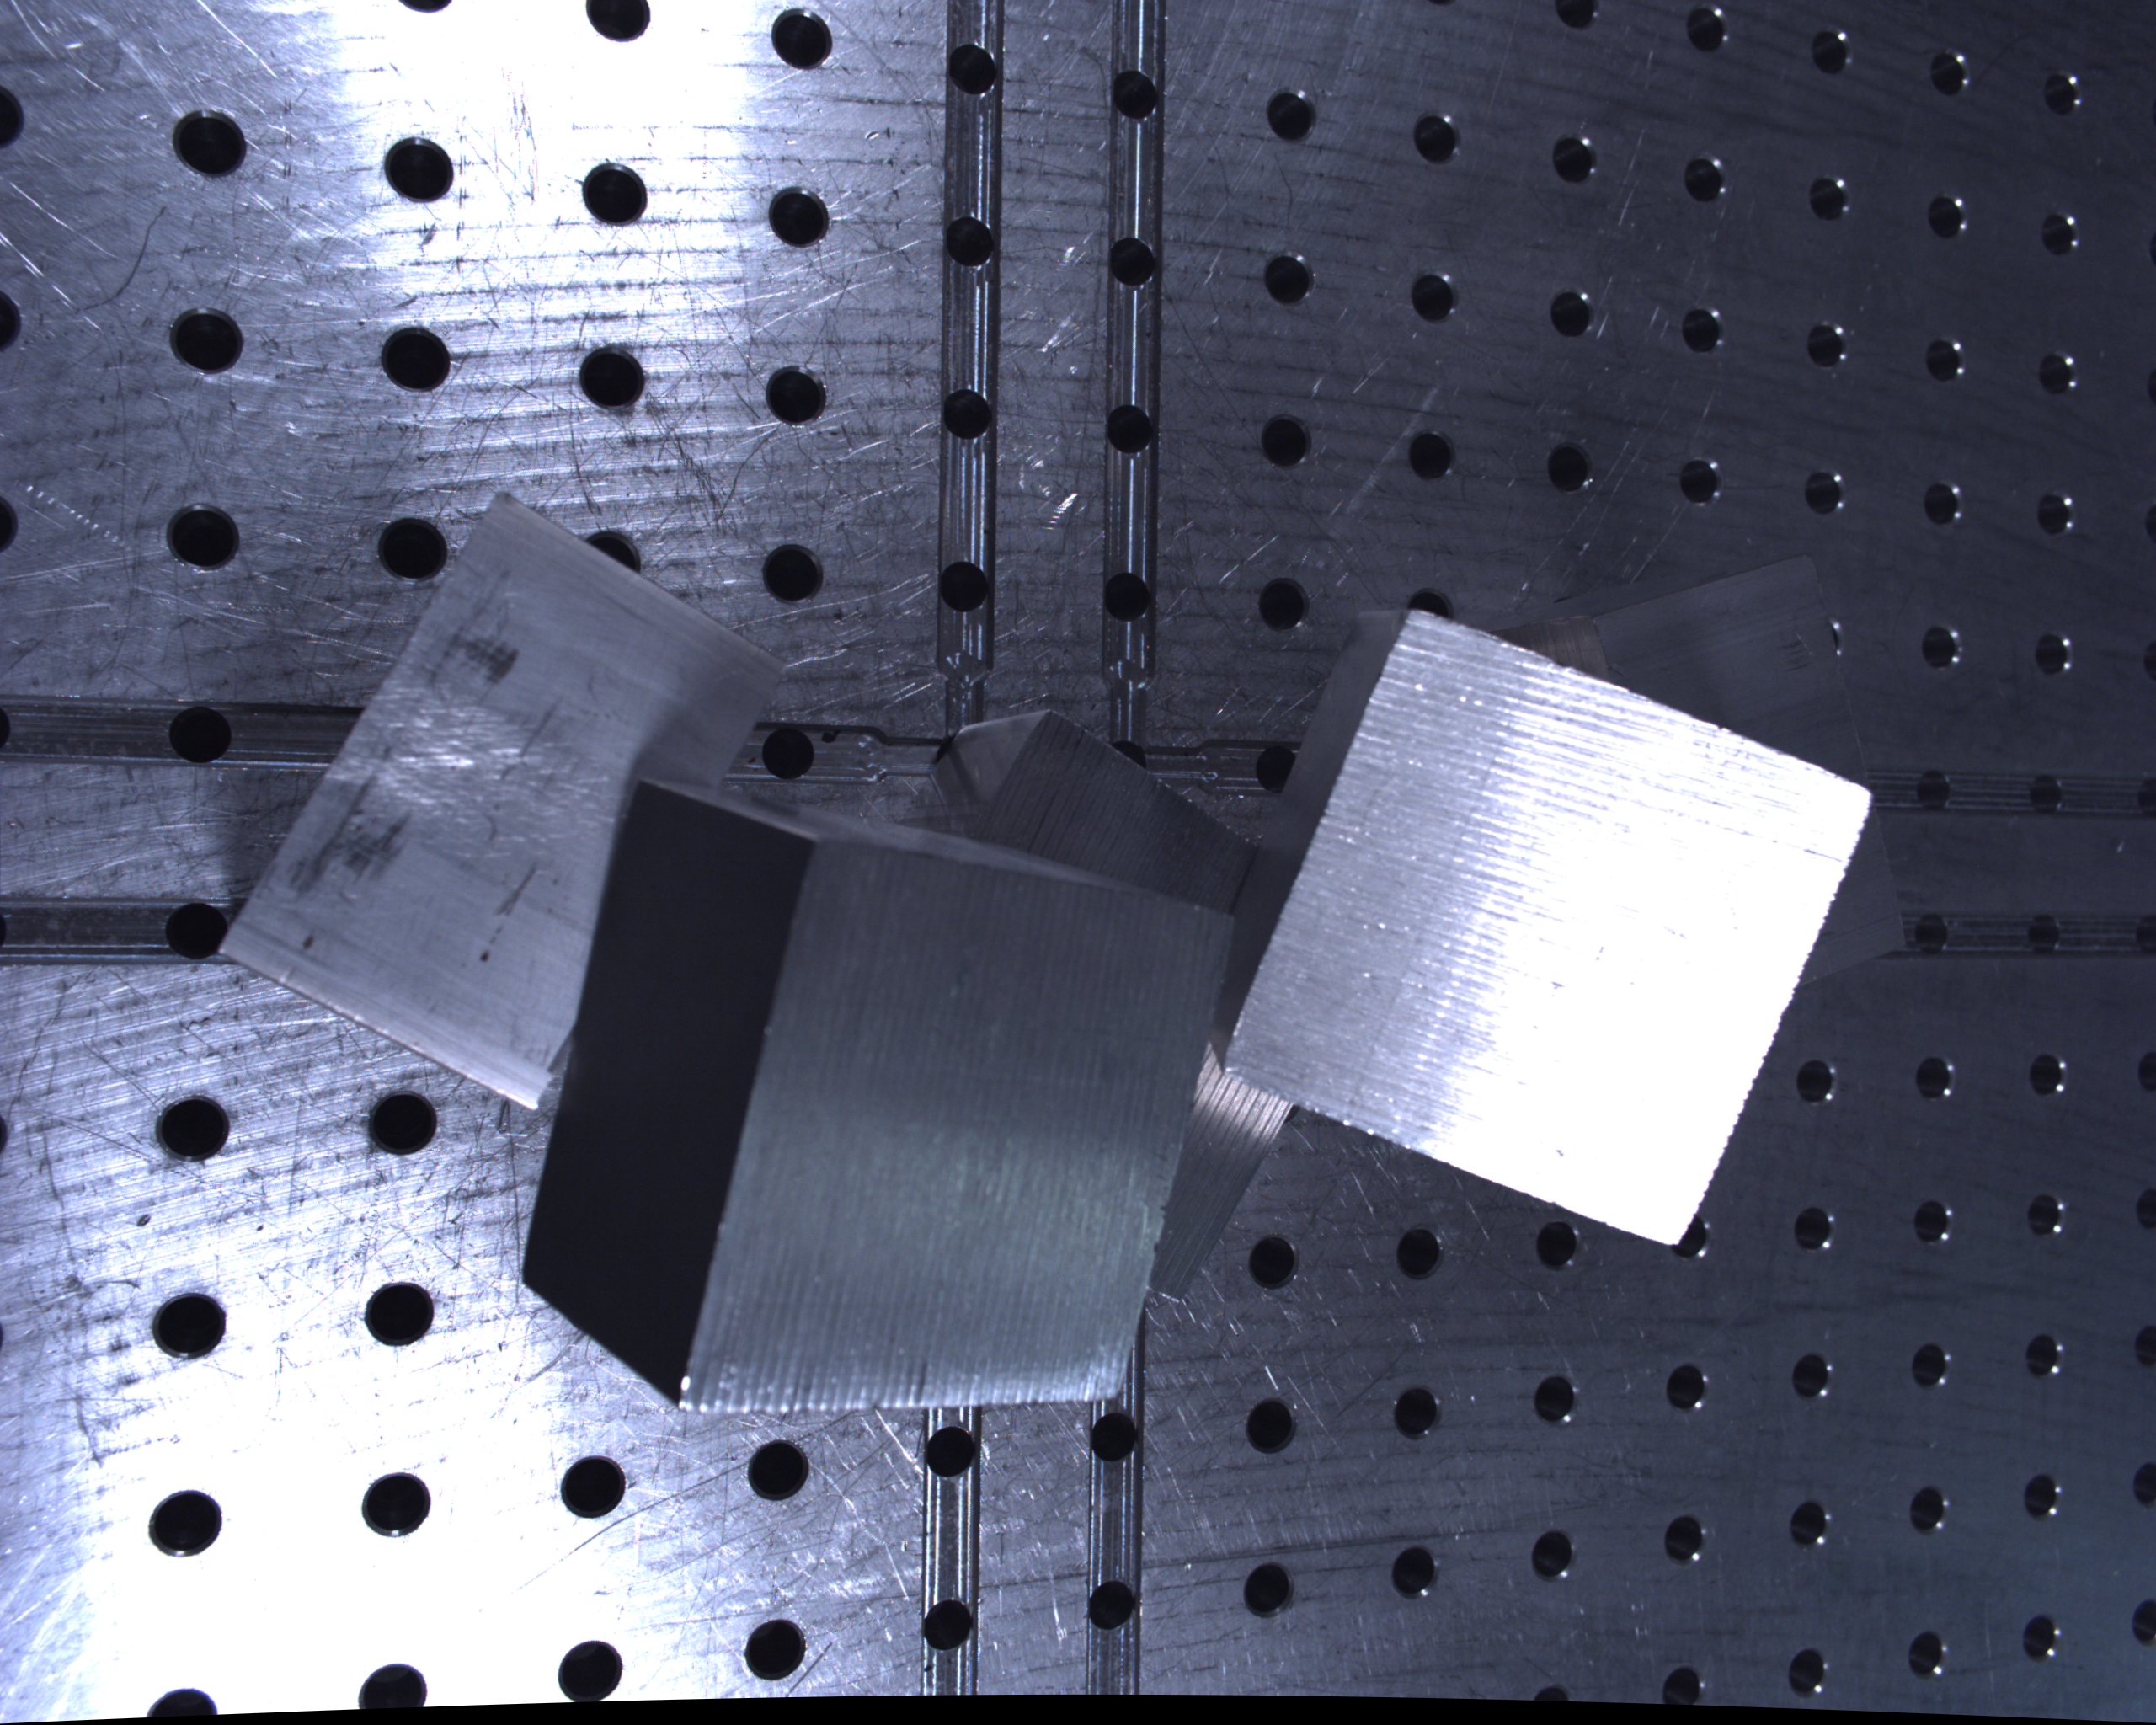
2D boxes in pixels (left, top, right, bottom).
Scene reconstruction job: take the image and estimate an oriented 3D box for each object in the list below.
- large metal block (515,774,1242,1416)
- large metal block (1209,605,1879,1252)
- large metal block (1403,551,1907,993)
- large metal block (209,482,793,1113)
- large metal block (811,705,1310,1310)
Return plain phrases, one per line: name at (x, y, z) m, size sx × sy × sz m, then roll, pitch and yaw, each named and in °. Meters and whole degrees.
large metal block at (-0.030, 0.036, 0.319) m, size 0.081 × 0.050 × 0.080 m, roll 11°, pitch 93°, yaw -41°
large metal block at (0.073, 0.008, 0.354) m, size 0.080 × 0.050 × 0.080 m, roll 22°, pitch 96°, yaw -4°
large metal block at (0.113, -0.014, 0.426) m, size 0.050 × 0.080 × 0.080 m, roll -17°, pitch 96°, yaw -19°
large metal block at (-0.098, -0.010, 0.347) m, size 0.050 × 0.080 × 0.080 m, roll 32°, pitch 80°, yaw -18°
large metal block at (-0.002, 0.027, 0.399) m, size 0.080 × 0.050 × 0.080 m, roll 34°, pitch 79°, yaw -17°
